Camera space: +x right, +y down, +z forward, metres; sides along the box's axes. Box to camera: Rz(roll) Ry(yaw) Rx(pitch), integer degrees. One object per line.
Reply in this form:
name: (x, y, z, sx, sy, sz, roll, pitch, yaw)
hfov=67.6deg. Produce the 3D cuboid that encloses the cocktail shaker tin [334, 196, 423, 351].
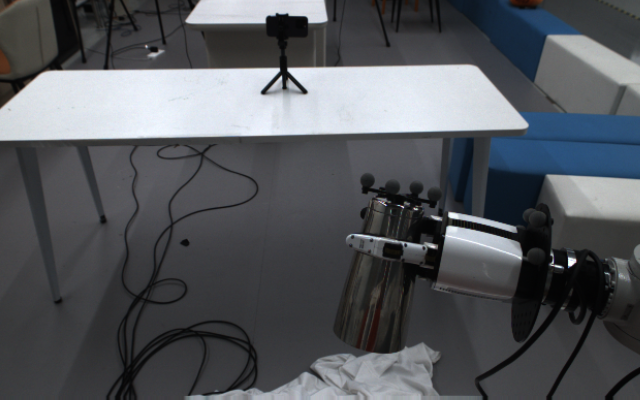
cocktail shaker tin: (0.080, 0.083, 0.589, 0.093, 0.170, 0.093, 10, 9, -2)
